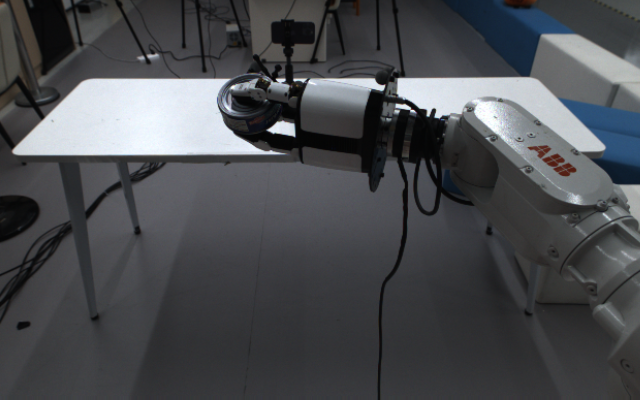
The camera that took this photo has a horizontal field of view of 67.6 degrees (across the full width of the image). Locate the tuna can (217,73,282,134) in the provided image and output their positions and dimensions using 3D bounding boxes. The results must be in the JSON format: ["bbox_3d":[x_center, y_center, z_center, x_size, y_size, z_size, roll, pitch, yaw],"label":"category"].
[{"bbox_3d":[-0.093,-0.128,0.663,0.085,0.034,0.085,-4,57,6],"label":"tuna can"}]
